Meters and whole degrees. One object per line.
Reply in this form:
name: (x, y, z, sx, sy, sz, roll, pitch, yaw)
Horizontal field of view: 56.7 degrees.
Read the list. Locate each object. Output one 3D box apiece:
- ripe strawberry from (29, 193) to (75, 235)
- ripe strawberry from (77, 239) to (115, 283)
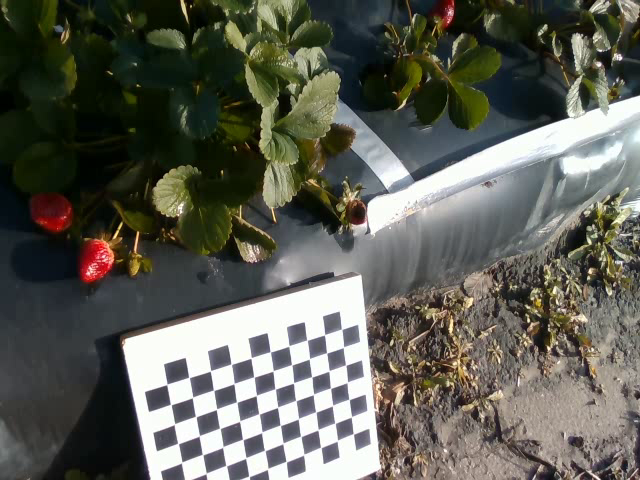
ripe strawberry: (-0.285, -0.030, 0.634, 0.039, 0.048, 0.054, 10, 4, 39)
ripe strawberry: (-0.239, 0.022, 0.626, 0.043, 0.053, 0.038, 37, -50, -26)
